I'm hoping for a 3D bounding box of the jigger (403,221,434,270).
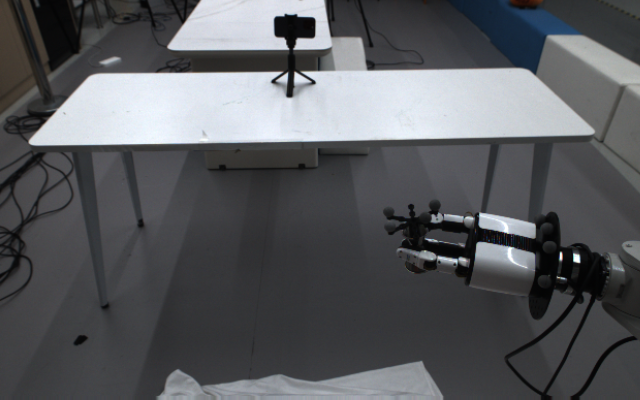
[{"bbox_3d":[0.150,0.073,0.751,0.043,0.071,0.043,-10,32,6],"label":"jigger"}]
